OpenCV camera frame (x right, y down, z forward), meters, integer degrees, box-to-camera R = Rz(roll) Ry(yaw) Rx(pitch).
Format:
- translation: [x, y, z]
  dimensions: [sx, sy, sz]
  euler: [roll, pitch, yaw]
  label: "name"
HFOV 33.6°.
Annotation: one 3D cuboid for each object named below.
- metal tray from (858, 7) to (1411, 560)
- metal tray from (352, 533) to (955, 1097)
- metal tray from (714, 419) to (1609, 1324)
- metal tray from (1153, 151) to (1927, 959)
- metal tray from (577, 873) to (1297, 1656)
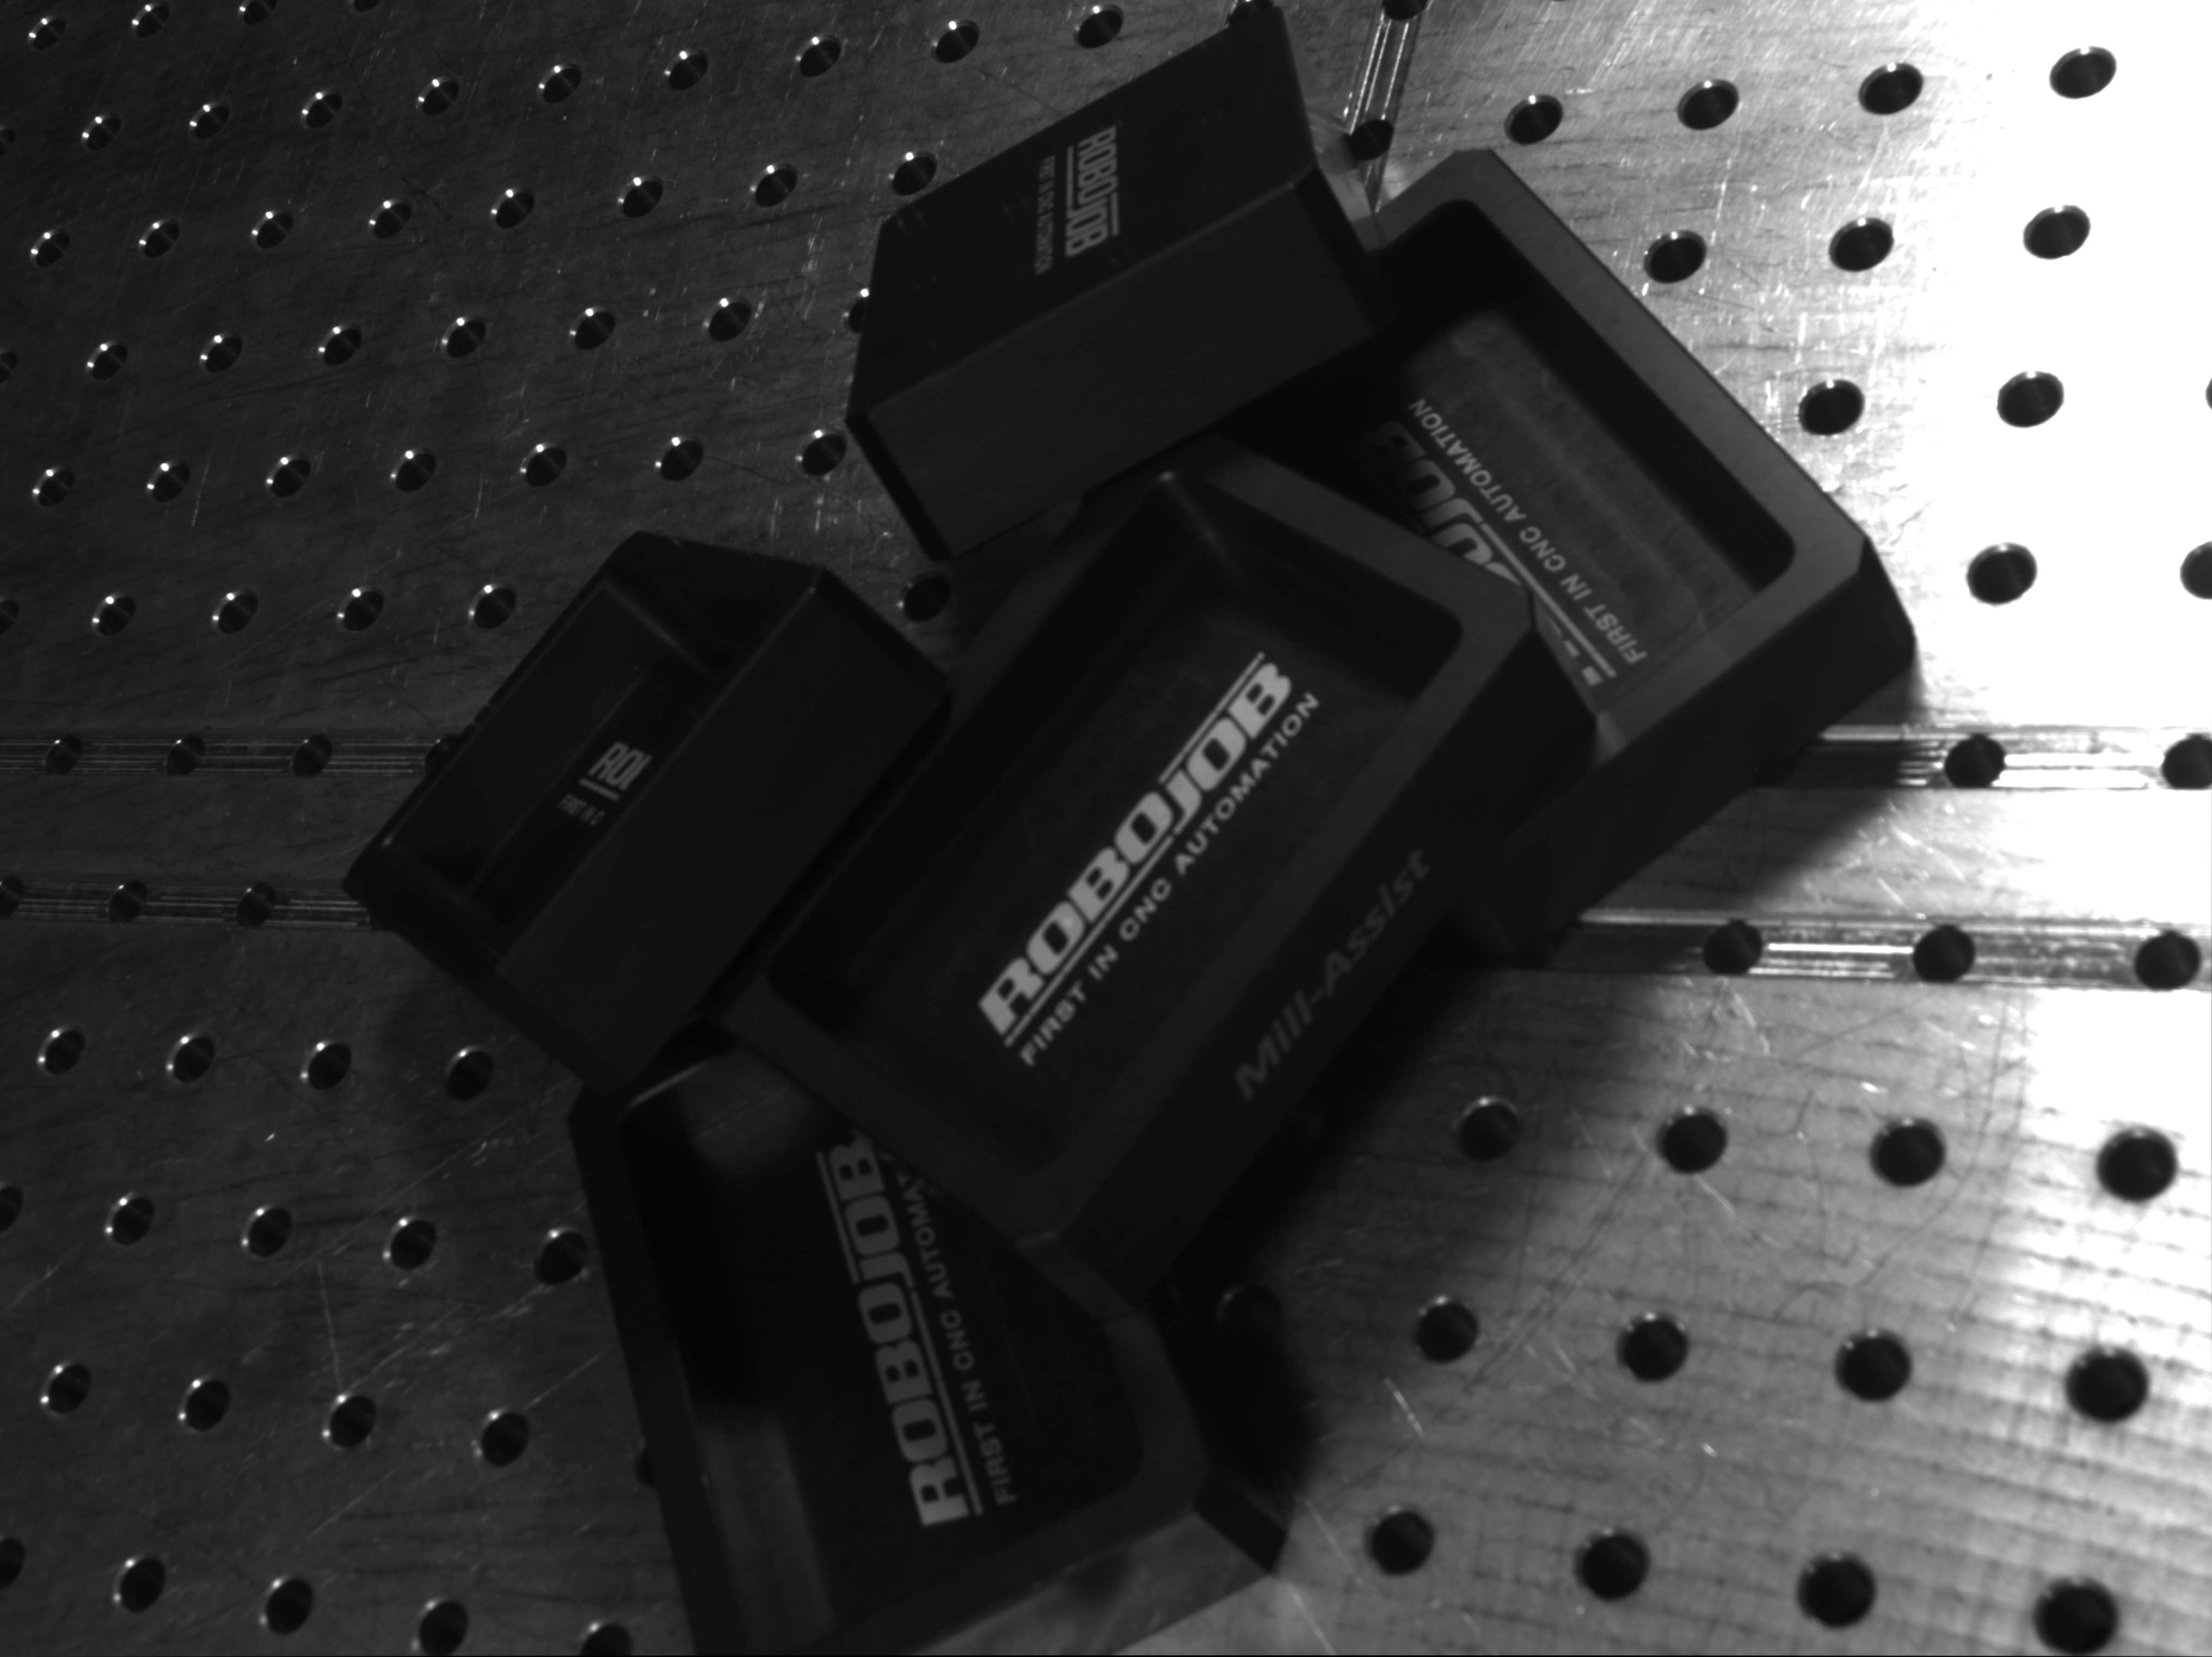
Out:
- translation: [0.004, -0.102, 0.666]
  dimensions: [0.090, 0.030, 0.130]
  euler: [-27, 22, 11]
  label: "metal tray"
- translation: [-0.084, -0.007, 0.654]
  dimensions: [0.090, 0.030, 0.130]
  euler: [-51, 21, -8]
  label: "metal tray"
- translation: [0.008, 0.004, 0.598]
  dimensions: [0.090, 0.030, 0.130]
  euler: [32, 80, 38]
  label: "metal tray"
- translation: [0.069, -0.051, 0.638]
  dimensions: [0.090, 0.030, 0.130]
  euler: [-37, 51, 3]
  label: "metal tray"
- translation: [-0.031, 0.081, 0.610]
  dimensions: [0.090, 0.030, 0.130]
  euler: [-29, 52, 10]
  label: "metal tray"
